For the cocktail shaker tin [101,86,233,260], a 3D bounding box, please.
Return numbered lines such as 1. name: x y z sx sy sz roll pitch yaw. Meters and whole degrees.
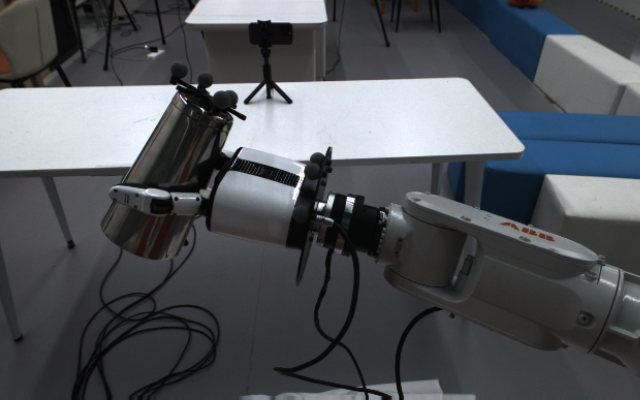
1. cocktail shaker tin: -0.161 -0.031 0.533 0.093 0.170 0.093 28 14 -7
